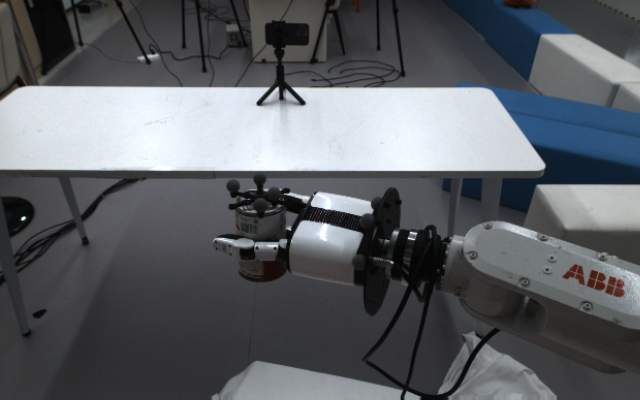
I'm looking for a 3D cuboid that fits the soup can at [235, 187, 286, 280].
[{"bbox_3d":[-0.076,0.049,0.643,0.067,0.101,0.067,1,26,0],"label":"soup can"}]
